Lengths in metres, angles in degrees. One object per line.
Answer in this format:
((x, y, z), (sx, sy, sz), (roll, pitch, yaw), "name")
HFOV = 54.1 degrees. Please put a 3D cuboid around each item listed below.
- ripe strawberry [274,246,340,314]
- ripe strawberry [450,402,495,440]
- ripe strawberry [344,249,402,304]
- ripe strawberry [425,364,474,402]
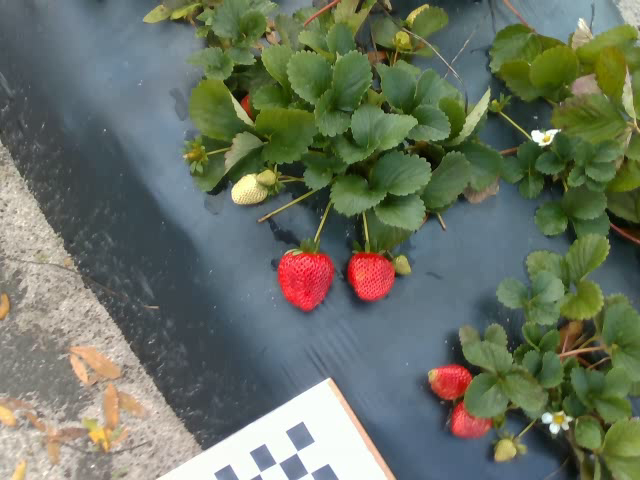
((-0.015, 0.043, 0.627), (0.058, 0.065, 0.043), (-3, -15, 22), "ripe strawberry")
((0.139, 0.178, 0.604), (0.049, 0.044, 0.041), (-28, -12, -46), "ripe strawberry")
((0.051, 0.040, 0.634), (0.050, 0.060, 0.051), (-9, -48, 22), "ripe strawberry")
((0.122, 0.140, 0.619), (0.053, 0.047, 0.039), (28, 19, -19), "ripe strawberry")
